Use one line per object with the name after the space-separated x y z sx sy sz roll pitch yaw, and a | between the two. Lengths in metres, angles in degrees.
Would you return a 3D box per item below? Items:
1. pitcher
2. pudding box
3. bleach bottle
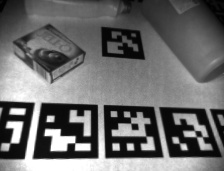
0.195 -0.137 0.530 0.191 0.132 0.241 1 54 -53 | pitcher
-0.120 -0.079 0.452 0.113 0.038 0.090 41 52 14 | pudding box
-0.071 -0.225 0.552 0.252 0.068 0.102 0 61 -14 | bleach bottle
